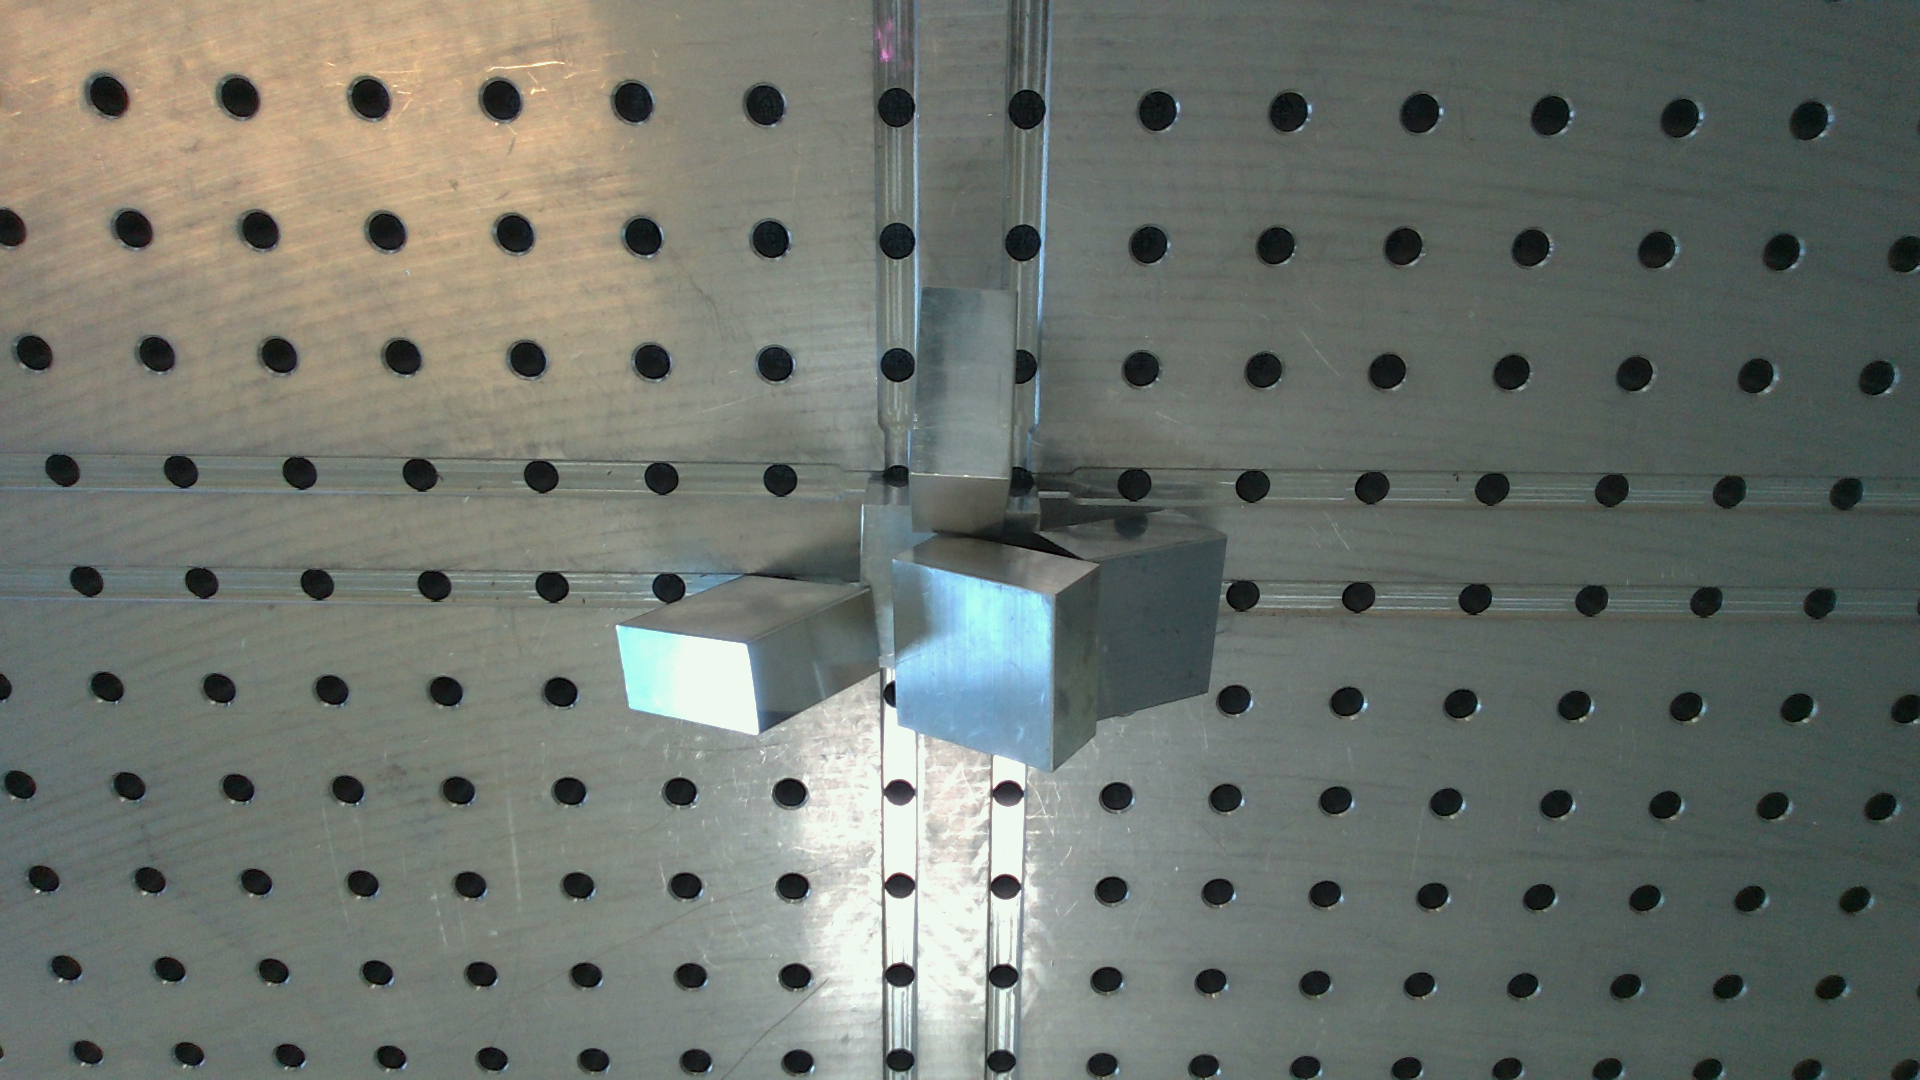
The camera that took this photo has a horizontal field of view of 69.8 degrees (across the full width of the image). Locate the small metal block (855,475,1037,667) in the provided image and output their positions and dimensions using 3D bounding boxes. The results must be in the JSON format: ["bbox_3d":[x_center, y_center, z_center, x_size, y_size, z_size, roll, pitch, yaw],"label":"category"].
[{"bbox_3d":[-0.005,0.010,0.400,0.050,0.025,0.050,2,110,-1],"label":"small metal block"}]

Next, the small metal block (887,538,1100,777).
[{"bbox_3d":[0.009,0.029,0.368,0.050,0.025,0.050,12,114,31],"label":"small metal block"}]

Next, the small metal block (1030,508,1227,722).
[{"bbox_3d":[0.046,0.021,0.393,0.050,0.025,0.050,-9,113,-30],"label":"small metal block"}]

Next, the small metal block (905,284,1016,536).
[{"bbox_3d":[0.000,-0.032,0.360,0.025,0.050,0.050,3,74,0],"label":"small metal block"}]

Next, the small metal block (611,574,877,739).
[{"bbox_3d":[-0.059,0.031,0.383,0.050,0.050,0.025,5,108,35],"label":"small metal block"}]
